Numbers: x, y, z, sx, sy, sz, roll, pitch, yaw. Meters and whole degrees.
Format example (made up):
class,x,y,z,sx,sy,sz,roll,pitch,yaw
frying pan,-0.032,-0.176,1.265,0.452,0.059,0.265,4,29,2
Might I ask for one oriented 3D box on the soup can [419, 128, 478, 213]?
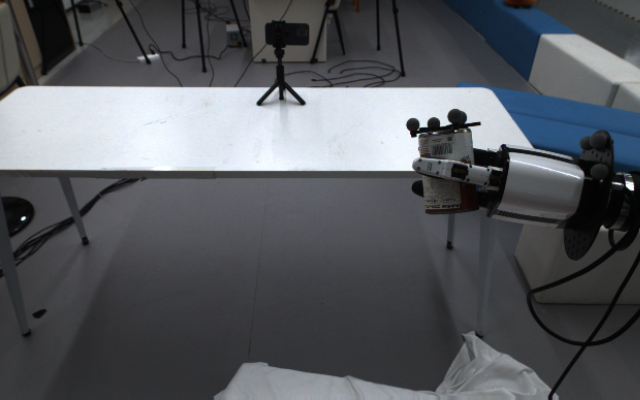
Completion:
class,x,y,z,sx,sy,sz,roll,pitch,yaw
soup can,0.166,-0.037,0.620,0.067,0.101,0.067,-6,3,0
